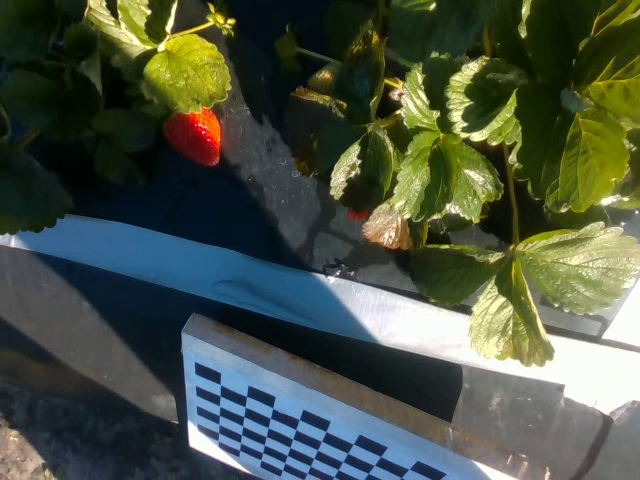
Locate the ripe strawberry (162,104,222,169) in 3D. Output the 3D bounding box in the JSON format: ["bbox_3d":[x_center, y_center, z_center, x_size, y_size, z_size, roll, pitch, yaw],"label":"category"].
[{"bbox_3d":[-0.092,-0.076,0.467,0.042,0.059,0.045,-40,4,-41],"label":"ripe strawberry"}]
